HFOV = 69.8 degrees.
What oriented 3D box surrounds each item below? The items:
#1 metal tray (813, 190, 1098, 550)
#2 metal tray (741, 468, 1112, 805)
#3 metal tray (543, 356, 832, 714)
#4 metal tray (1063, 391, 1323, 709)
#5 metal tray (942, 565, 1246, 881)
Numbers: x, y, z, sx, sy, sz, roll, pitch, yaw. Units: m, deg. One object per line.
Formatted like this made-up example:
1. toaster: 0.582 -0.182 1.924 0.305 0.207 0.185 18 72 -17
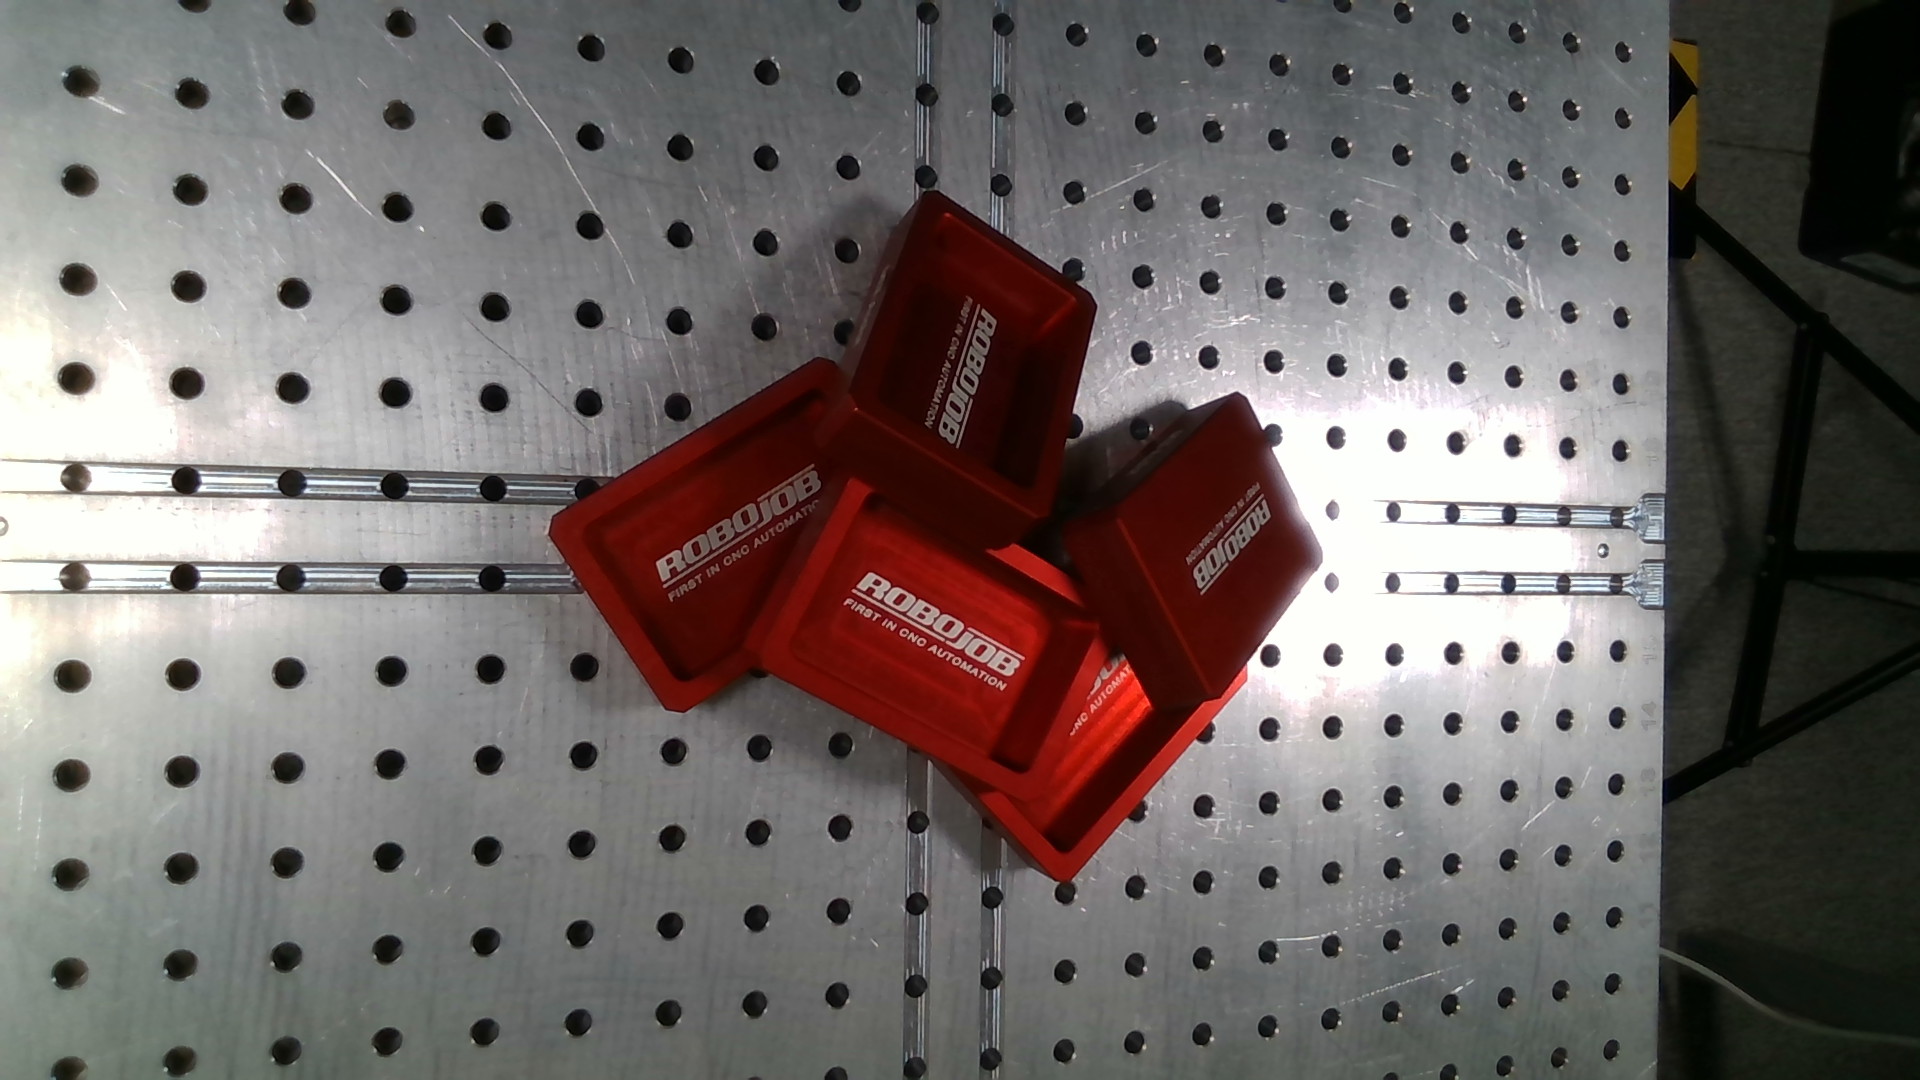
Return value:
1. metal tray: 0.002 -0.071 0.554 0.090 0.030 0.130 30 50 -18
2. metal tray: -0.009 0.038 0.550 0.130 0.030 0.090 30 80 -18
3. metal tray: -0.087 -0.003 0.553 0.130 0.030 0.090 -34 101 -17
4. metal tray: 0.104 0.002 0.592 0.130 0.030 0.090 -40 105 -47
5. metal tray: 0.054 0.072 0.606 0.130 0.030 0.090 -45 104 -14
